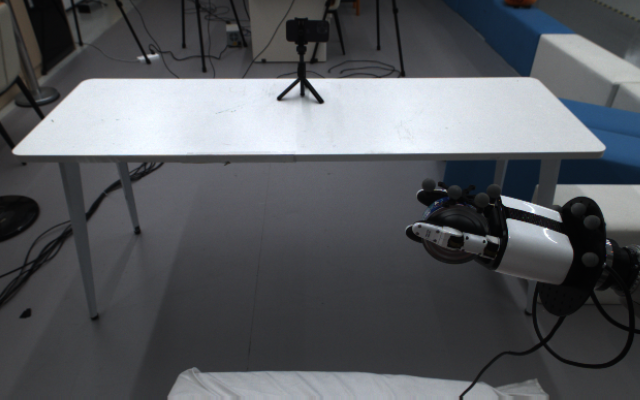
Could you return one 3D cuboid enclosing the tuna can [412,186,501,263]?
[{"bbox_3d":[0.177,0.037,0.633,0.085,0.085,0.034,7,23,7],"label":"tuna can"}]
